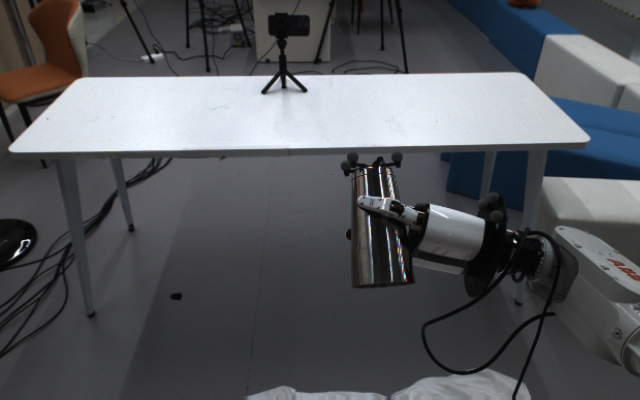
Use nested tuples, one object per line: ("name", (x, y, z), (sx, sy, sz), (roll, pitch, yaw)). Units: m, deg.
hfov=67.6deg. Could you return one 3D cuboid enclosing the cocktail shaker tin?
("cocktail shaker tin", (0.087, 0.041, 0.717), (0.093, 0.093, 0.170), (-3, 76, -8))
